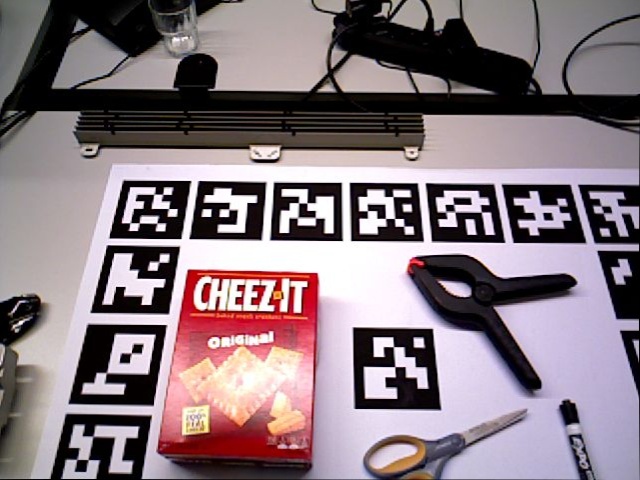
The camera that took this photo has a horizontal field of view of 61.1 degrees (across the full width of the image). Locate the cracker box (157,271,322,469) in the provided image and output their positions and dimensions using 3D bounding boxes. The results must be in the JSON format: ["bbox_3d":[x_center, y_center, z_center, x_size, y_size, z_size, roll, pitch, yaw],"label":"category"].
[{"bbox_3d":[-0.082,0.142,0.620,0.163,0.073,0.210,1,59,2],"label":"cracker box"}]

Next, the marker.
[{"bbox_3d":[0.291,0.232,0.588,0.019,0.020,0.119,-3,58,-1],"label":"marker"}]

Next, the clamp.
[{"bbox_3d":[0.200,0.071,0.693,0.203,0.037,0.162,27,62,15],"label":"clamp"}]

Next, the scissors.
[{"bbox_3d":[0.149,0.227,0.595,0.200,0.016,0.087,-24,60,-16],"label":"scissors"}]
